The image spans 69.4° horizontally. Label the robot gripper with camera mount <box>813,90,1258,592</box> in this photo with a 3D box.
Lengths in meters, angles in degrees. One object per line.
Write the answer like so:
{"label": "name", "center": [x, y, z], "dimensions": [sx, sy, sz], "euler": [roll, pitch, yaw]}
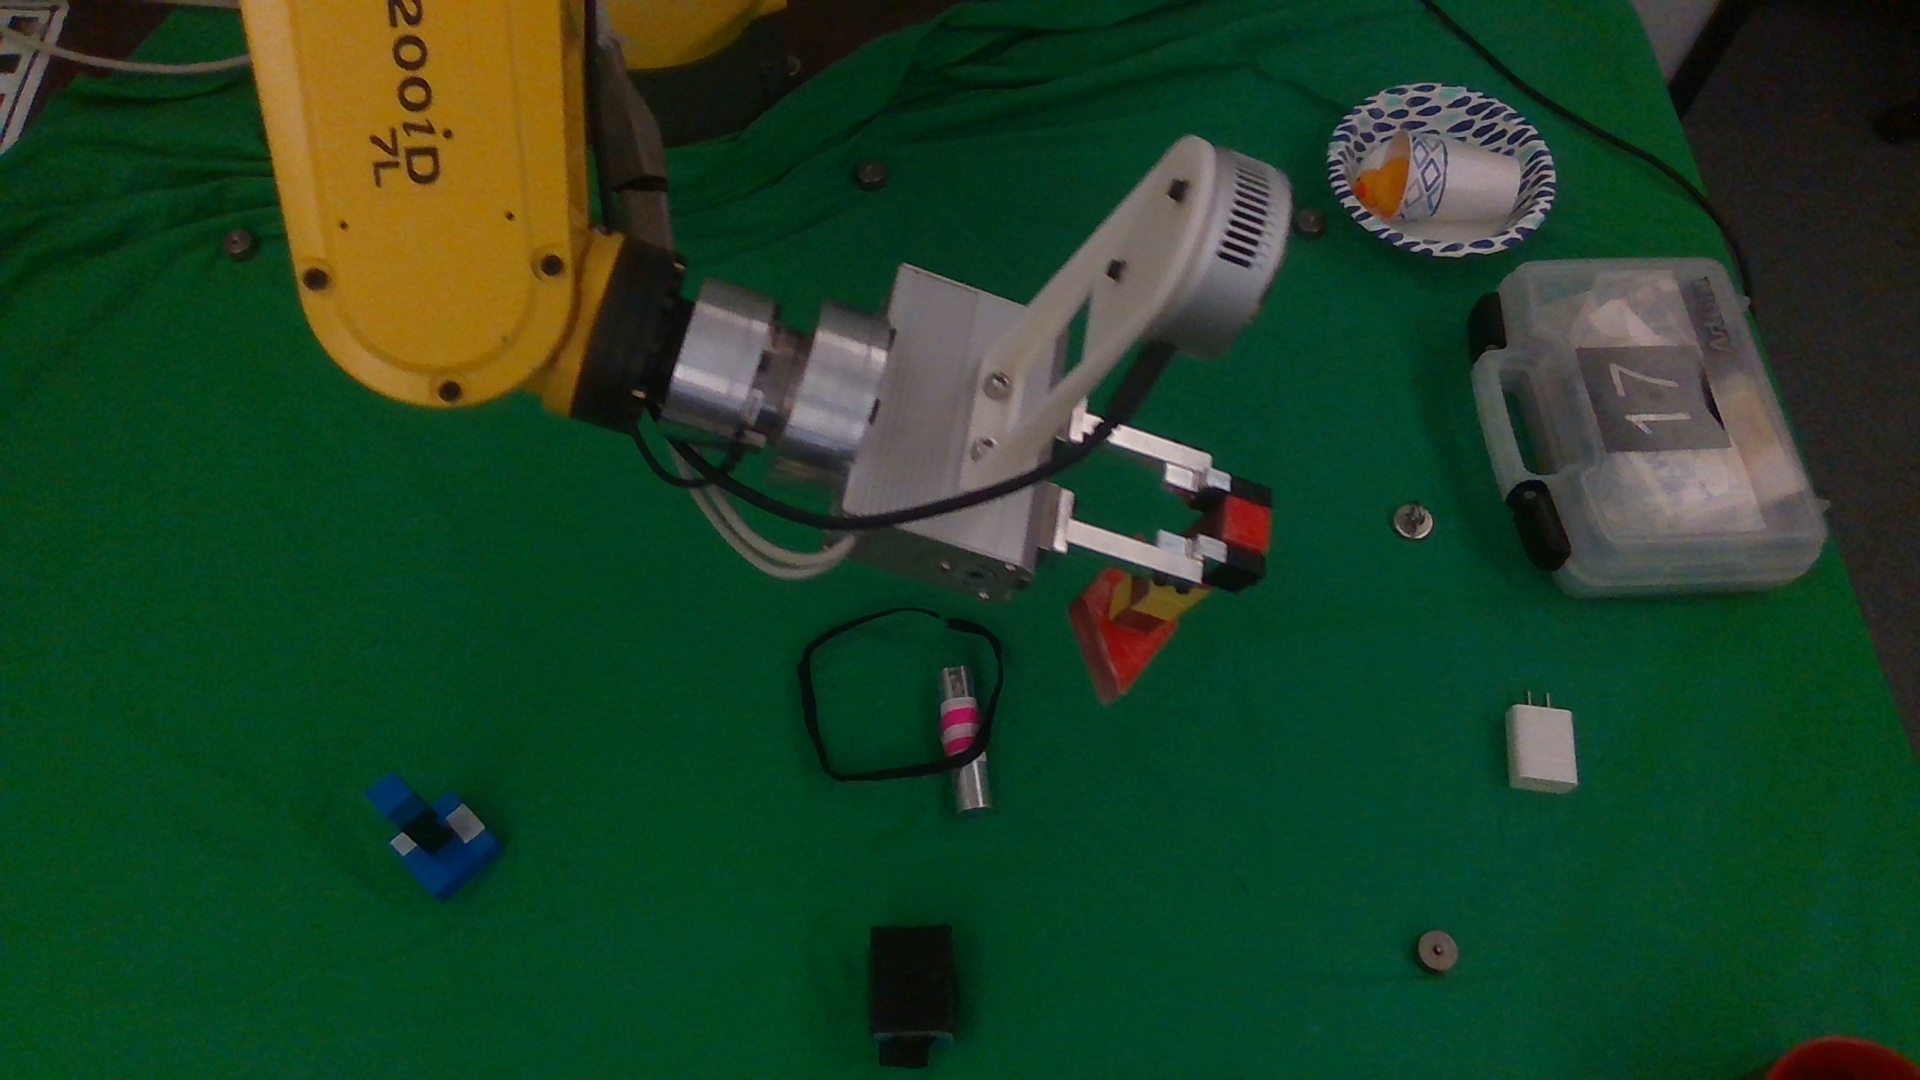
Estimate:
{"label": "robot gripper with camera mount", "center": [0.062, -0.068, 0.486], "dimensions": [0.158, 0.194, 0.119], "euler": [18, 53, -15]}

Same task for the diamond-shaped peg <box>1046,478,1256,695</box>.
{"label": "diamond-shaped peg", "center": [0.083, 0.011, 0.595], "dimensions": [0.045, 0.122, 0.074], "euler": [-10, 71, -28]}
